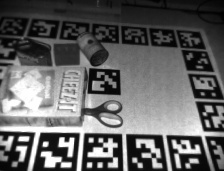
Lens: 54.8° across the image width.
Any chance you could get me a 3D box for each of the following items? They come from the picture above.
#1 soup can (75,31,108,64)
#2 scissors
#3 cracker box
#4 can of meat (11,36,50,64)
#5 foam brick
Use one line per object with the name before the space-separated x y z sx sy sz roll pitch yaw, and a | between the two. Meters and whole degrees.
soup can | -0.071 -0.128 0.725 0.068 0.068 0.101 -31 61 -23
scissors | -0.081 0.071 0.603 0.203 0.016 0.087 -1 58 -8
cracker box | -0.194 0.019 0.584 0.214 0.072 0.163 -3 57 -5
can of meat | -0.246 -0.097 0.660 0.102 0.084 0.058 14 57 2
foam brick | -0.153 -0.109 0.703 0.078 0.051 0.052 -6 59 -11
